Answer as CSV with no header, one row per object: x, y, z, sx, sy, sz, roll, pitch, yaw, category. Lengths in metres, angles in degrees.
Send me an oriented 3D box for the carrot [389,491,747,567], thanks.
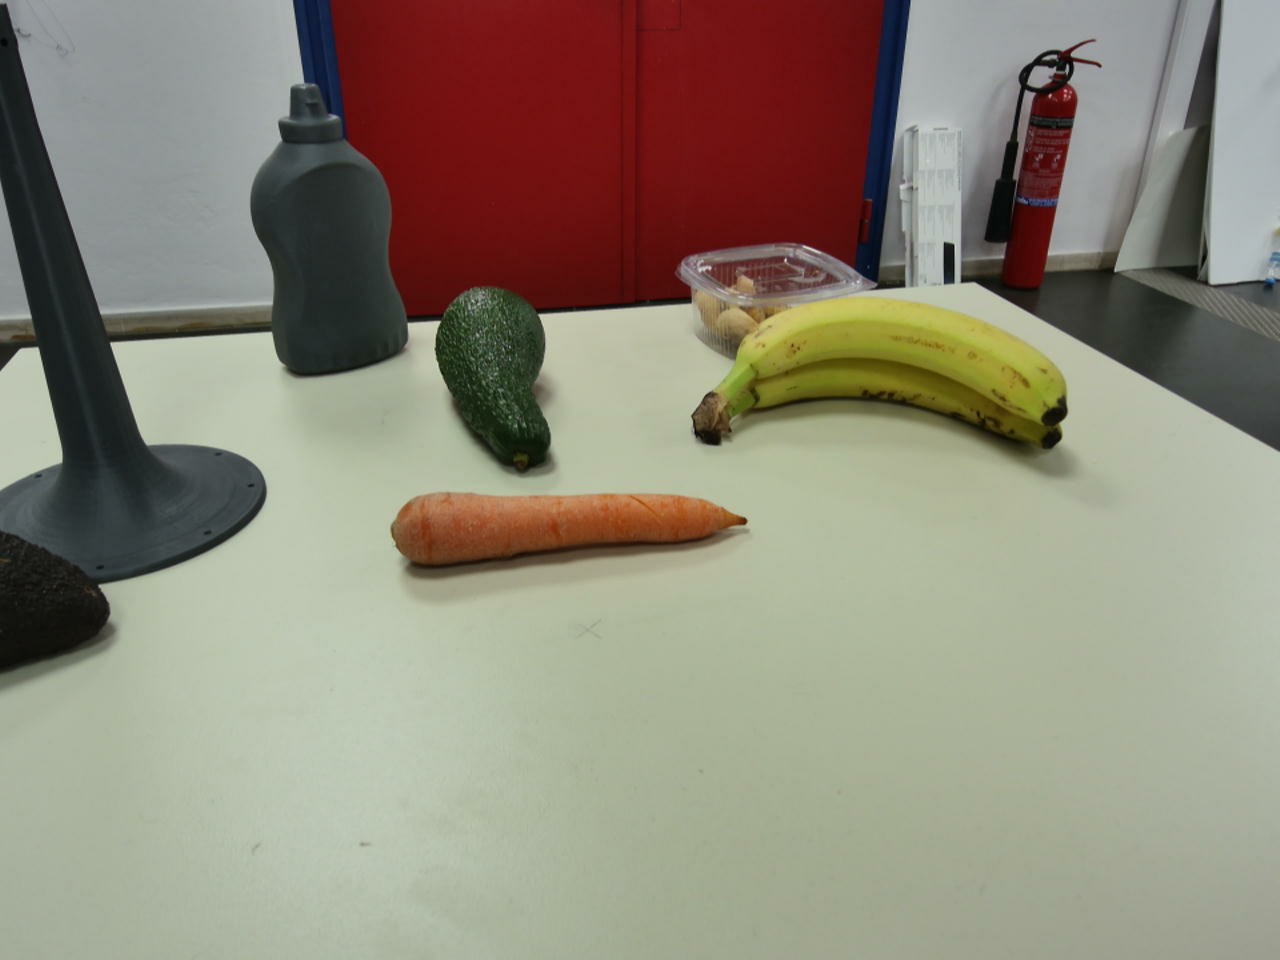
-0.035,0.020,0.544,0.196,0.041,0.039,-5,27,-11,carrot
